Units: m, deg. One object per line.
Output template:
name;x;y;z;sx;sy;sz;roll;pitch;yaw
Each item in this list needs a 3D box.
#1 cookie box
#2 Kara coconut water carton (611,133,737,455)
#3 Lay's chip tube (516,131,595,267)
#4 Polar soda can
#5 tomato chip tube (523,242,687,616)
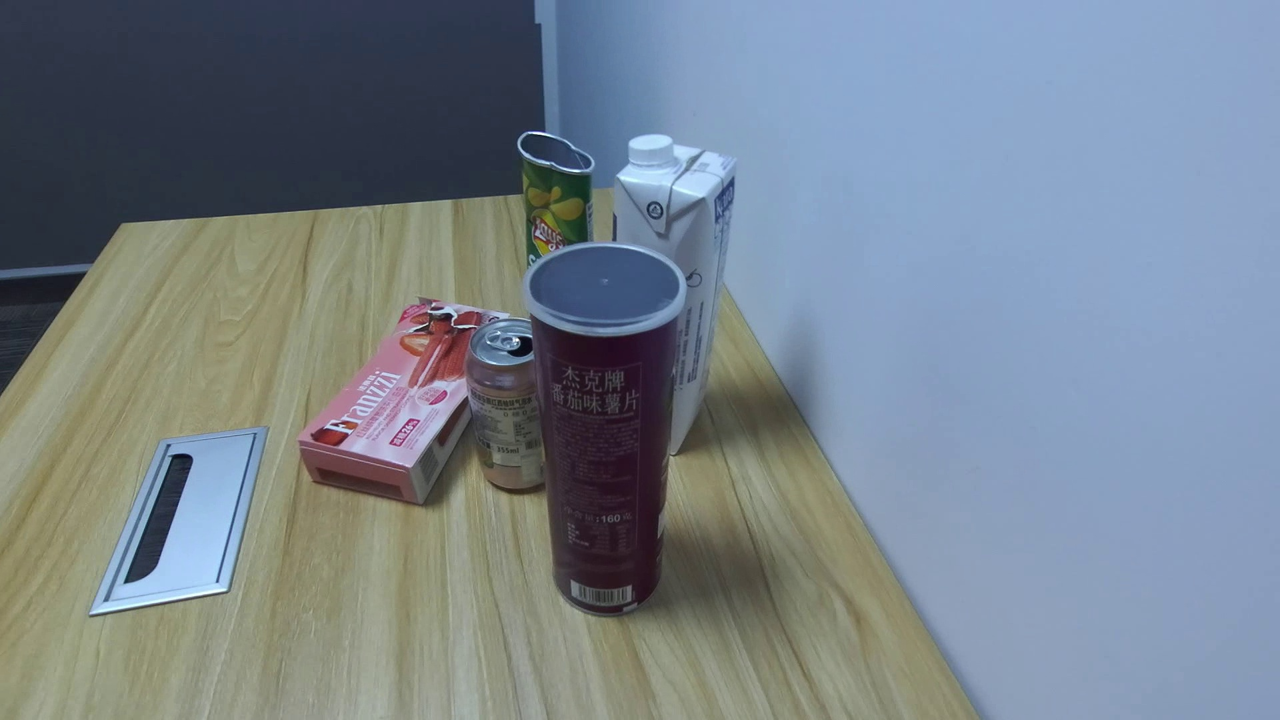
cookie box;-0.186;0.026;0.589;0.105;0.059;0.186;7;40;11
Kara coconut water carton;0.020;-0.044;0.531;0.075;0.245;0.077;17;42;16
Lay's chip tube;-0.068;-0.084;0.611;0.075;0.199;0.069;8;37;8
Polar soda can;-0.096;0.040;0.546;0.067;0.126;0.067;1;33;0
tomato chip tube;-0.019;0.053;0.416;0.078;0.234;0.078;1;39;-1
